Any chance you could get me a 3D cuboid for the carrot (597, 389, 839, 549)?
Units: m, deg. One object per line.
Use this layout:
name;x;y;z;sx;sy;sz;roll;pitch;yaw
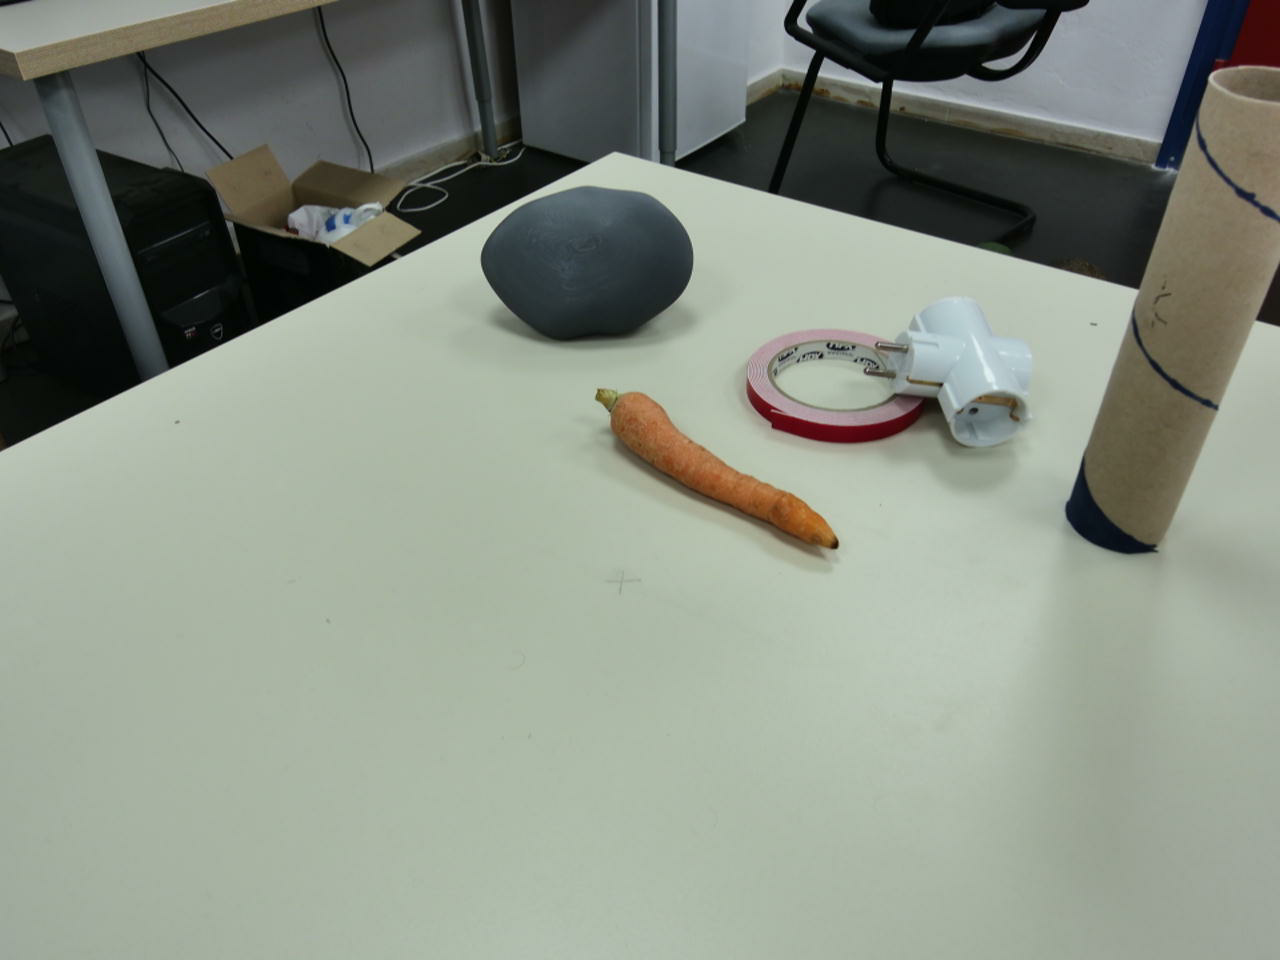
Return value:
carrot;0.037;-0.008;0.543;0.030;0.032;0.173;-30;46;-32
